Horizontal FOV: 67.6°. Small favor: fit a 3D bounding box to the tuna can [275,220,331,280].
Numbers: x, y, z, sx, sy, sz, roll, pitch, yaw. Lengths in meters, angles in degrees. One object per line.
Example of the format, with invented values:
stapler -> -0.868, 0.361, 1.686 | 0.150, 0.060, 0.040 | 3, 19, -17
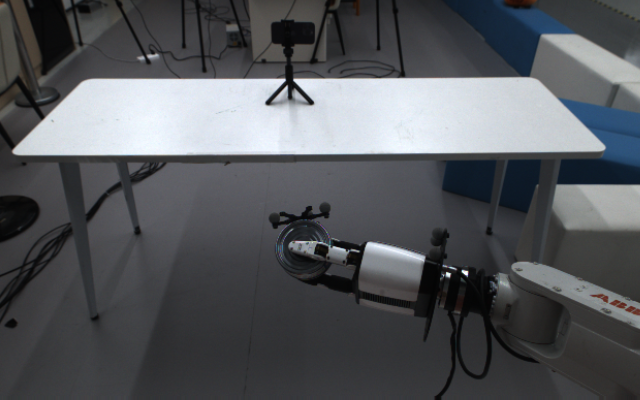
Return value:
tuna can -> -0.019, 0.078, 0.711 | 0.085, 0.034, 0.085 | -4, 68, 9
